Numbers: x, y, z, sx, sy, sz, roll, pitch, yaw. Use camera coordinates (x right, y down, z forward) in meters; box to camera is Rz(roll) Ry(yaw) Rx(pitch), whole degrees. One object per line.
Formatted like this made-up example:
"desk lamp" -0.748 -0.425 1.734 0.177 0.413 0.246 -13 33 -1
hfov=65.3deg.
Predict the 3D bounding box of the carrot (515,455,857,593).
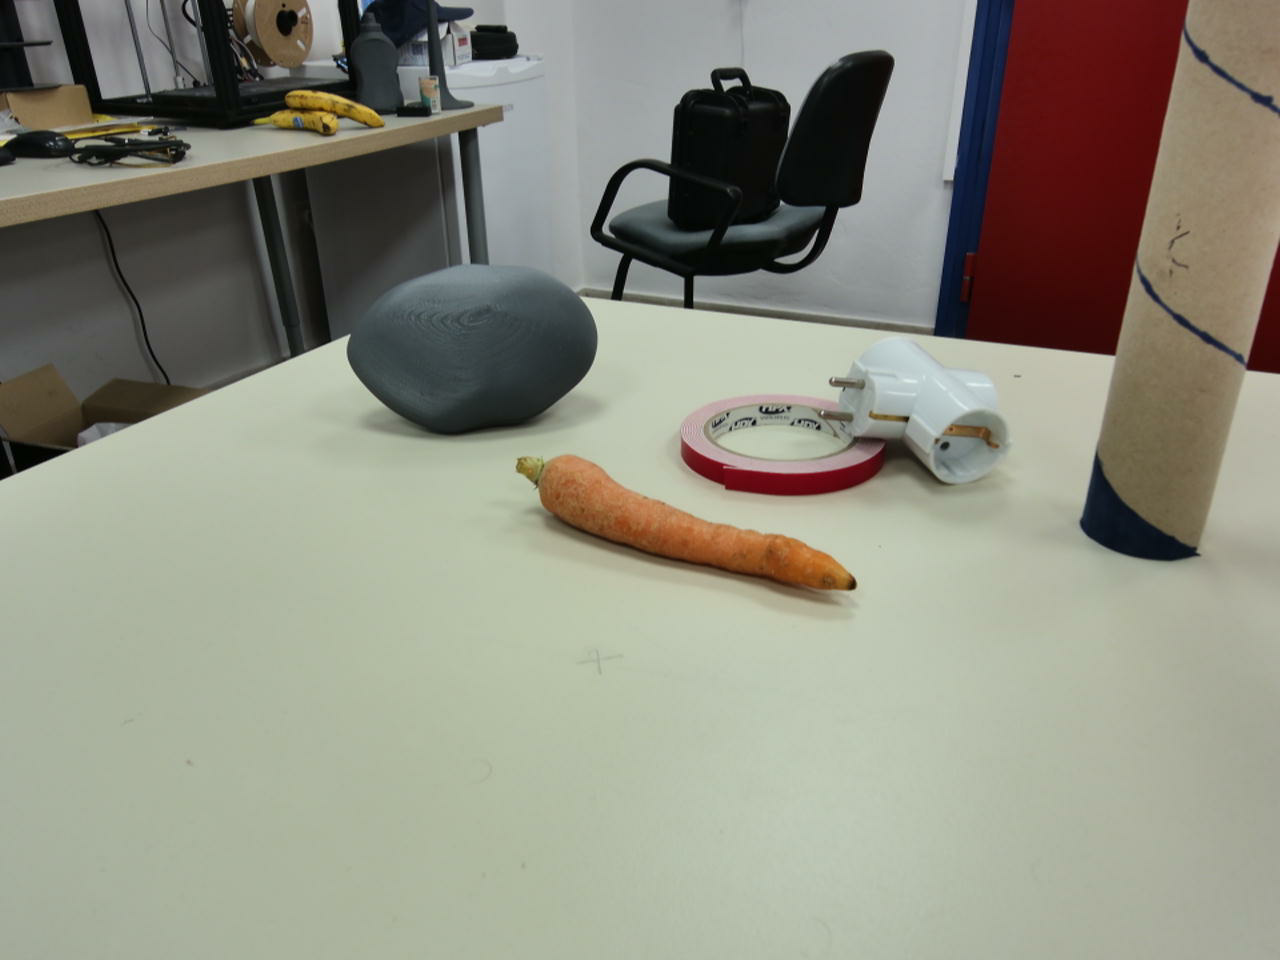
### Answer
"carrot" 0.015 0.018 0.440 0.173 0.032 0.030 16 28 32
